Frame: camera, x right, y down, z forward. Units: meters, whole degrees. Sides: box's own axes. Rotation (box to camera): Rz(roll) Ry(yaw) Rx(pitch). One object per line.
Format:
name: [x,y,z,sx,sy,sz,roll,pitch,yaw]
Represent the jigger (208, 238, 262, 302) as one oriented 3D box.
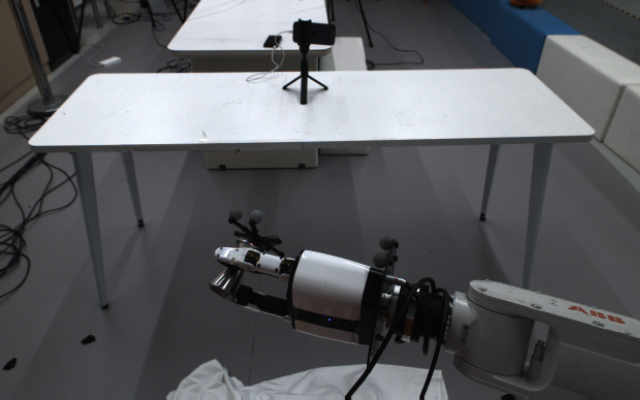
jigger: [-0.107,0.085,0.610,0.043,0.043,0.071,19,62,23]
